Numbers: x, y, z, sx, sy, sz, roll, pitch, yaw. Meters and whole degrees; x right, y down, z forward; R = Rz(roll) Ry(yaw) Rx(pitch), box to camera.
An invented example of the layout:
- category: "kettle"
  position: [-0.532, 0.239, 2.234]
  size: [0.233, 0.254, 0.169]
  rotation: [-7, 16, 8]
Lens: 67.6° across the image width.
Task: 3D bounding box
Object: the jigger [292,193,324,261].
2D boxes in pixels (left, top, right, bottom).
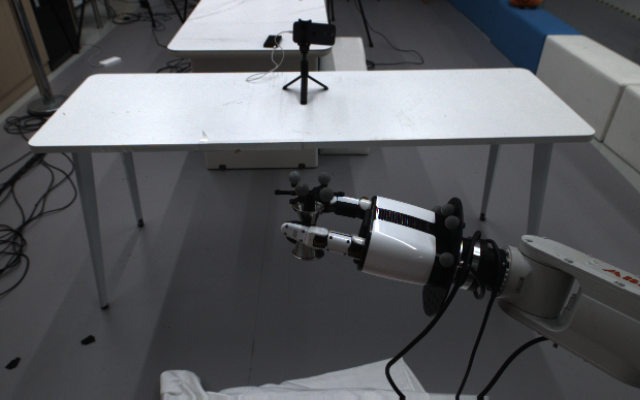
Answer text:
- category: "jigger"
  position: [-0.015, 0.038, 0.641]
  size: [0.043, 0.071, 0.043]
  rotation: [1, 20, 0]
